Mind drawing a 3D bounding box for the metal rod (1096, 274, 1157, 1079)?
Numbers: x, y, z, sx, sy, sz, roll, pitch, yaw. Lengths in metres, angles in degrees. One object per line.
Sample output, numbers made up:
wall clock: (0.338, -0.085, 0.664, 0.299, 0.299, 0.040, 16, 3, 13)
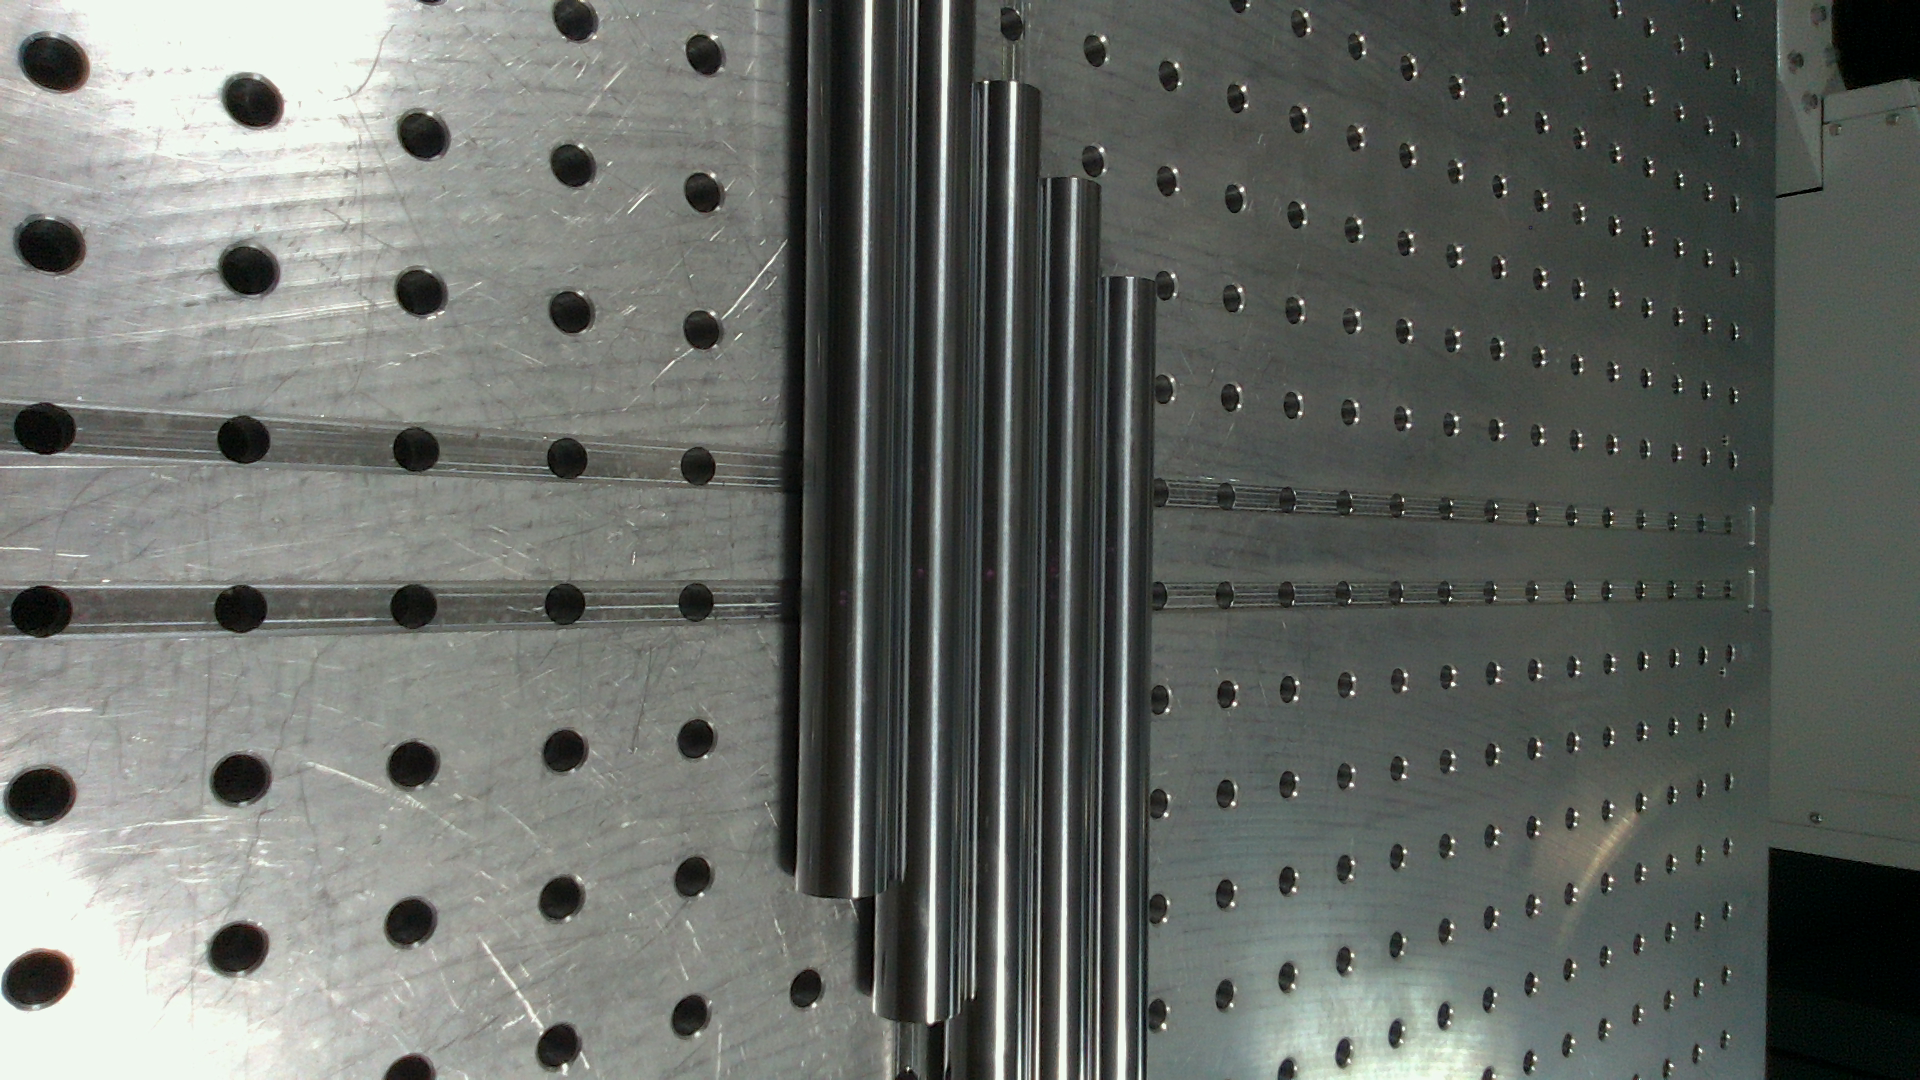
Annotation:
metal rod: (0.047, 0.069, 0.430, 0.025, 0.025, 0.300, 1, 89, -40)

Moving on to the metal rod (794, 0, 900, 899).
metal rod: (-0.030, -0.058, 0.367, 0.025, 0.025, 0.300, 1, 89, -40)

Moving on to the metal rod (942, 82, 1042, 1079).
metal rod: (0.009, 0.021, 0.399, 0.025, 0.025, 0.300, 1, 89, -40)

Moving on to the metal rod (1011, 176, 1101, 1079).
metal rod: (0.028, 0.043, 0.414, 0.025, 0.025, 0.300, 1, 89, -40)

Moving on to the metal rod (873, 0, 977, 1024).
metal rod: (-0.010, -0.020, 0.383, 0.025, 0.025, 0.300, 1, 89, -40)
